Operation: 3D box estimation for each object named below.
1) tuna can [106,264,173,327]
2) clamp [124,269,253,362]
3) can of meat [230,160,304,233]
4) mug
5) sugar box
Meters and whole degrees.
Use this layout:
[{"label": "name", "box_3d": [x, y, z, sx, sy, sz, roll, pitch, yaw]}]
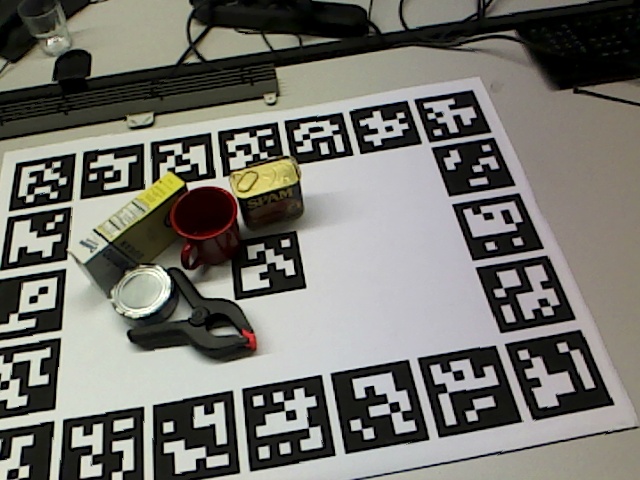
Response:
[{"label": "tuna can", "box_3d": [-0.250, 0.079, 0.860, 0.086, 0.033, 0.086, -2, 58, 3]}, {"label": "clamp", "box_3d": [-0.165, 0.115, 0.836, 0.166, 0.036, 0.122, 23, 57, 14]}, {"label": "can of meat", "box_3d": [-0.075, -0.062, 0.919, 0.101, 0.083, 0.058, -15, 55, -8]}, {"label": "mug", "box_3d": [-0.167, -0.009, 0.882, 0.093, 0.081, 0.117, 13, 60, 12]}, {"label": "sugar box", "box_3d": [-0.261, -0.006, 0.890, 0.045, 0.092, 0.176, 36, 65, 26]}]
